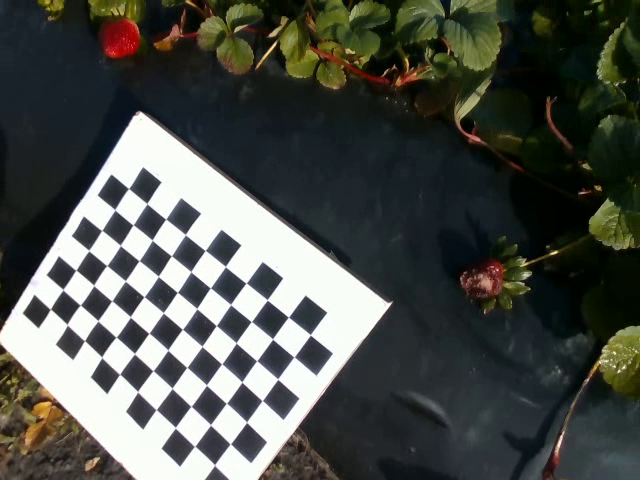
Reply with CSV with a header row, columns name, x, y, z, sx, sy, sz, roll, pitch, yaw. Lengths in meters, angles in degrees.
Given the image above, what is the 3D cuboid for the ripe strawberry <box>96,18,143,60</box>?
name,x,y,z,sx,sy,sz,roll,pitch,yaw
ripe strawberry,-0.183,-0.182,0.629,0.040,0.056,0.041,-15,-49,20
